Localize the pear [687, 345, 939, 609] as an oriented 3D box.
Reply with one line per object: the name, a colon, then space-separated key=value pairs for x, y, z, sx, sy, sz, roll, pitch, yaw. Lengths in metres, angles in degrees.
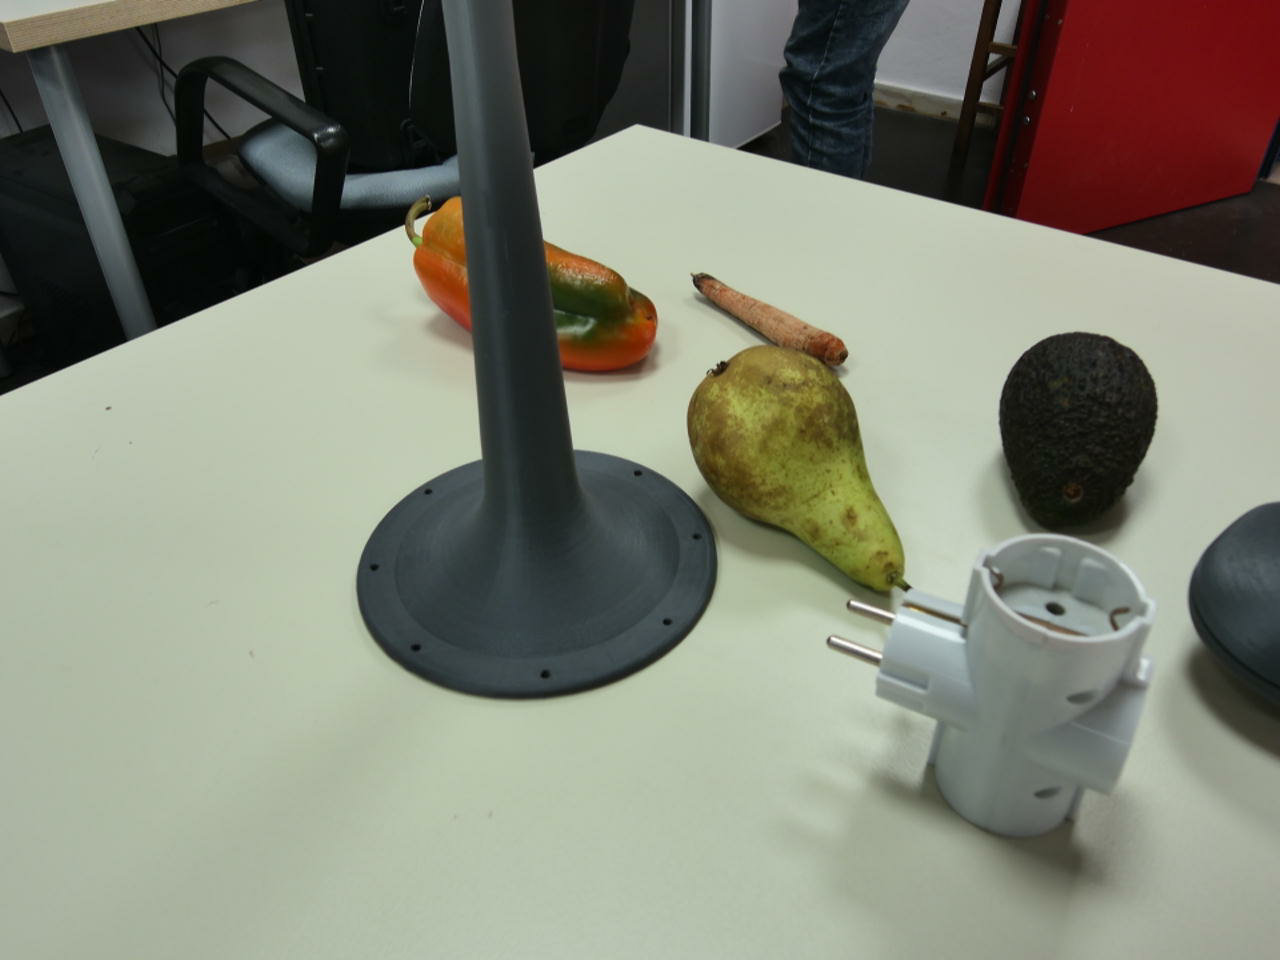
pear: x=0.081 y=-0.006 z=0.413 sx=0.071 sy=0.075 sz=0.144 roll=-29 pitch=45 yaw=-33
